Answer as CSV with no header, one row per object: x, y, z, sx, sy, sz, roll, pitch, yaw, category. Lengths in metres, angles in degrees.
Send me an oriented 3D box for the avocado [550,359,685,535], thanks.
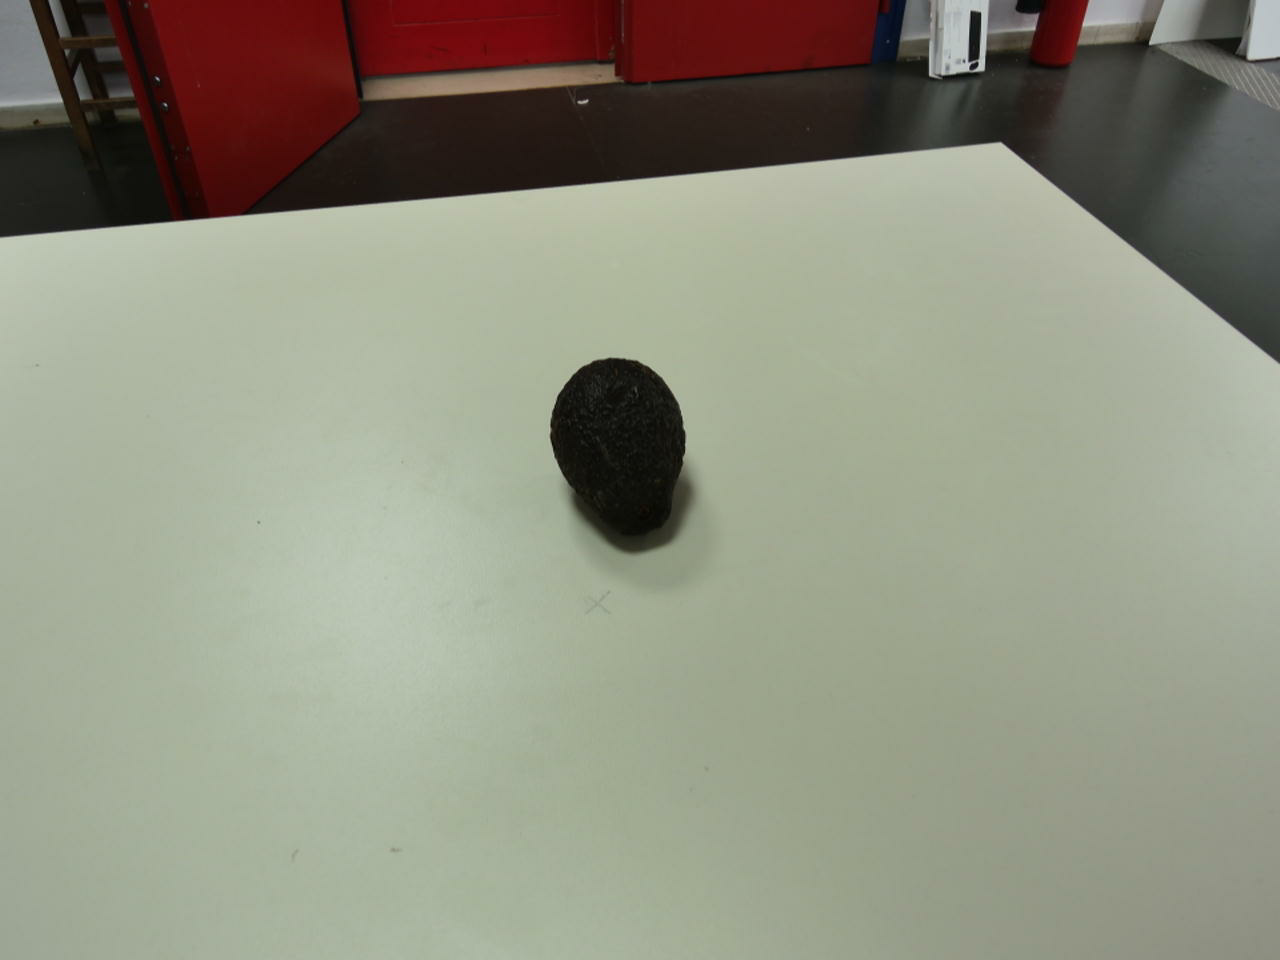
-0.012,-0.021,0.508,0.070,0.069,0.090,7,39,9,avocado
